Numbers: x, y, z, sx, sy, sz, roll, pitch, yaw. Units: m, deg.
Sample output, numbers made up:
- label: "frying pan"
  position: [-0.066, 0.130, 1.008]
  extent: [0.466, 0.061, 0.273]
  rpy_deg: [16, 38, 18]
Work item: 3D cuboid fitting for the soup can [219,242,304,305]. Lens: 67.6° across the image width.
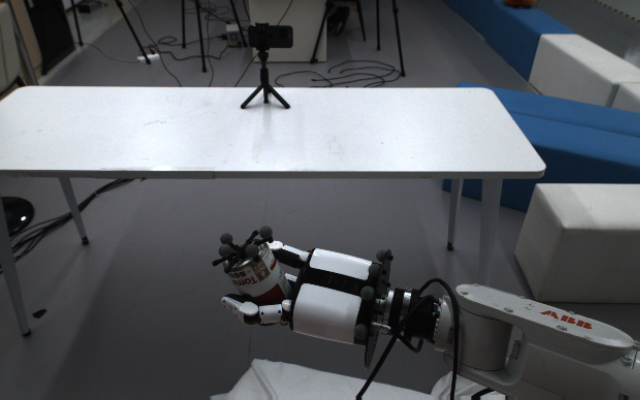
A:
- label: "soup can"
  position: [-0.079, 0.114, 0.670]
  extent: [0.067, 0.101, 0.067]
  rpy_deg: [-22, 24, 10]
